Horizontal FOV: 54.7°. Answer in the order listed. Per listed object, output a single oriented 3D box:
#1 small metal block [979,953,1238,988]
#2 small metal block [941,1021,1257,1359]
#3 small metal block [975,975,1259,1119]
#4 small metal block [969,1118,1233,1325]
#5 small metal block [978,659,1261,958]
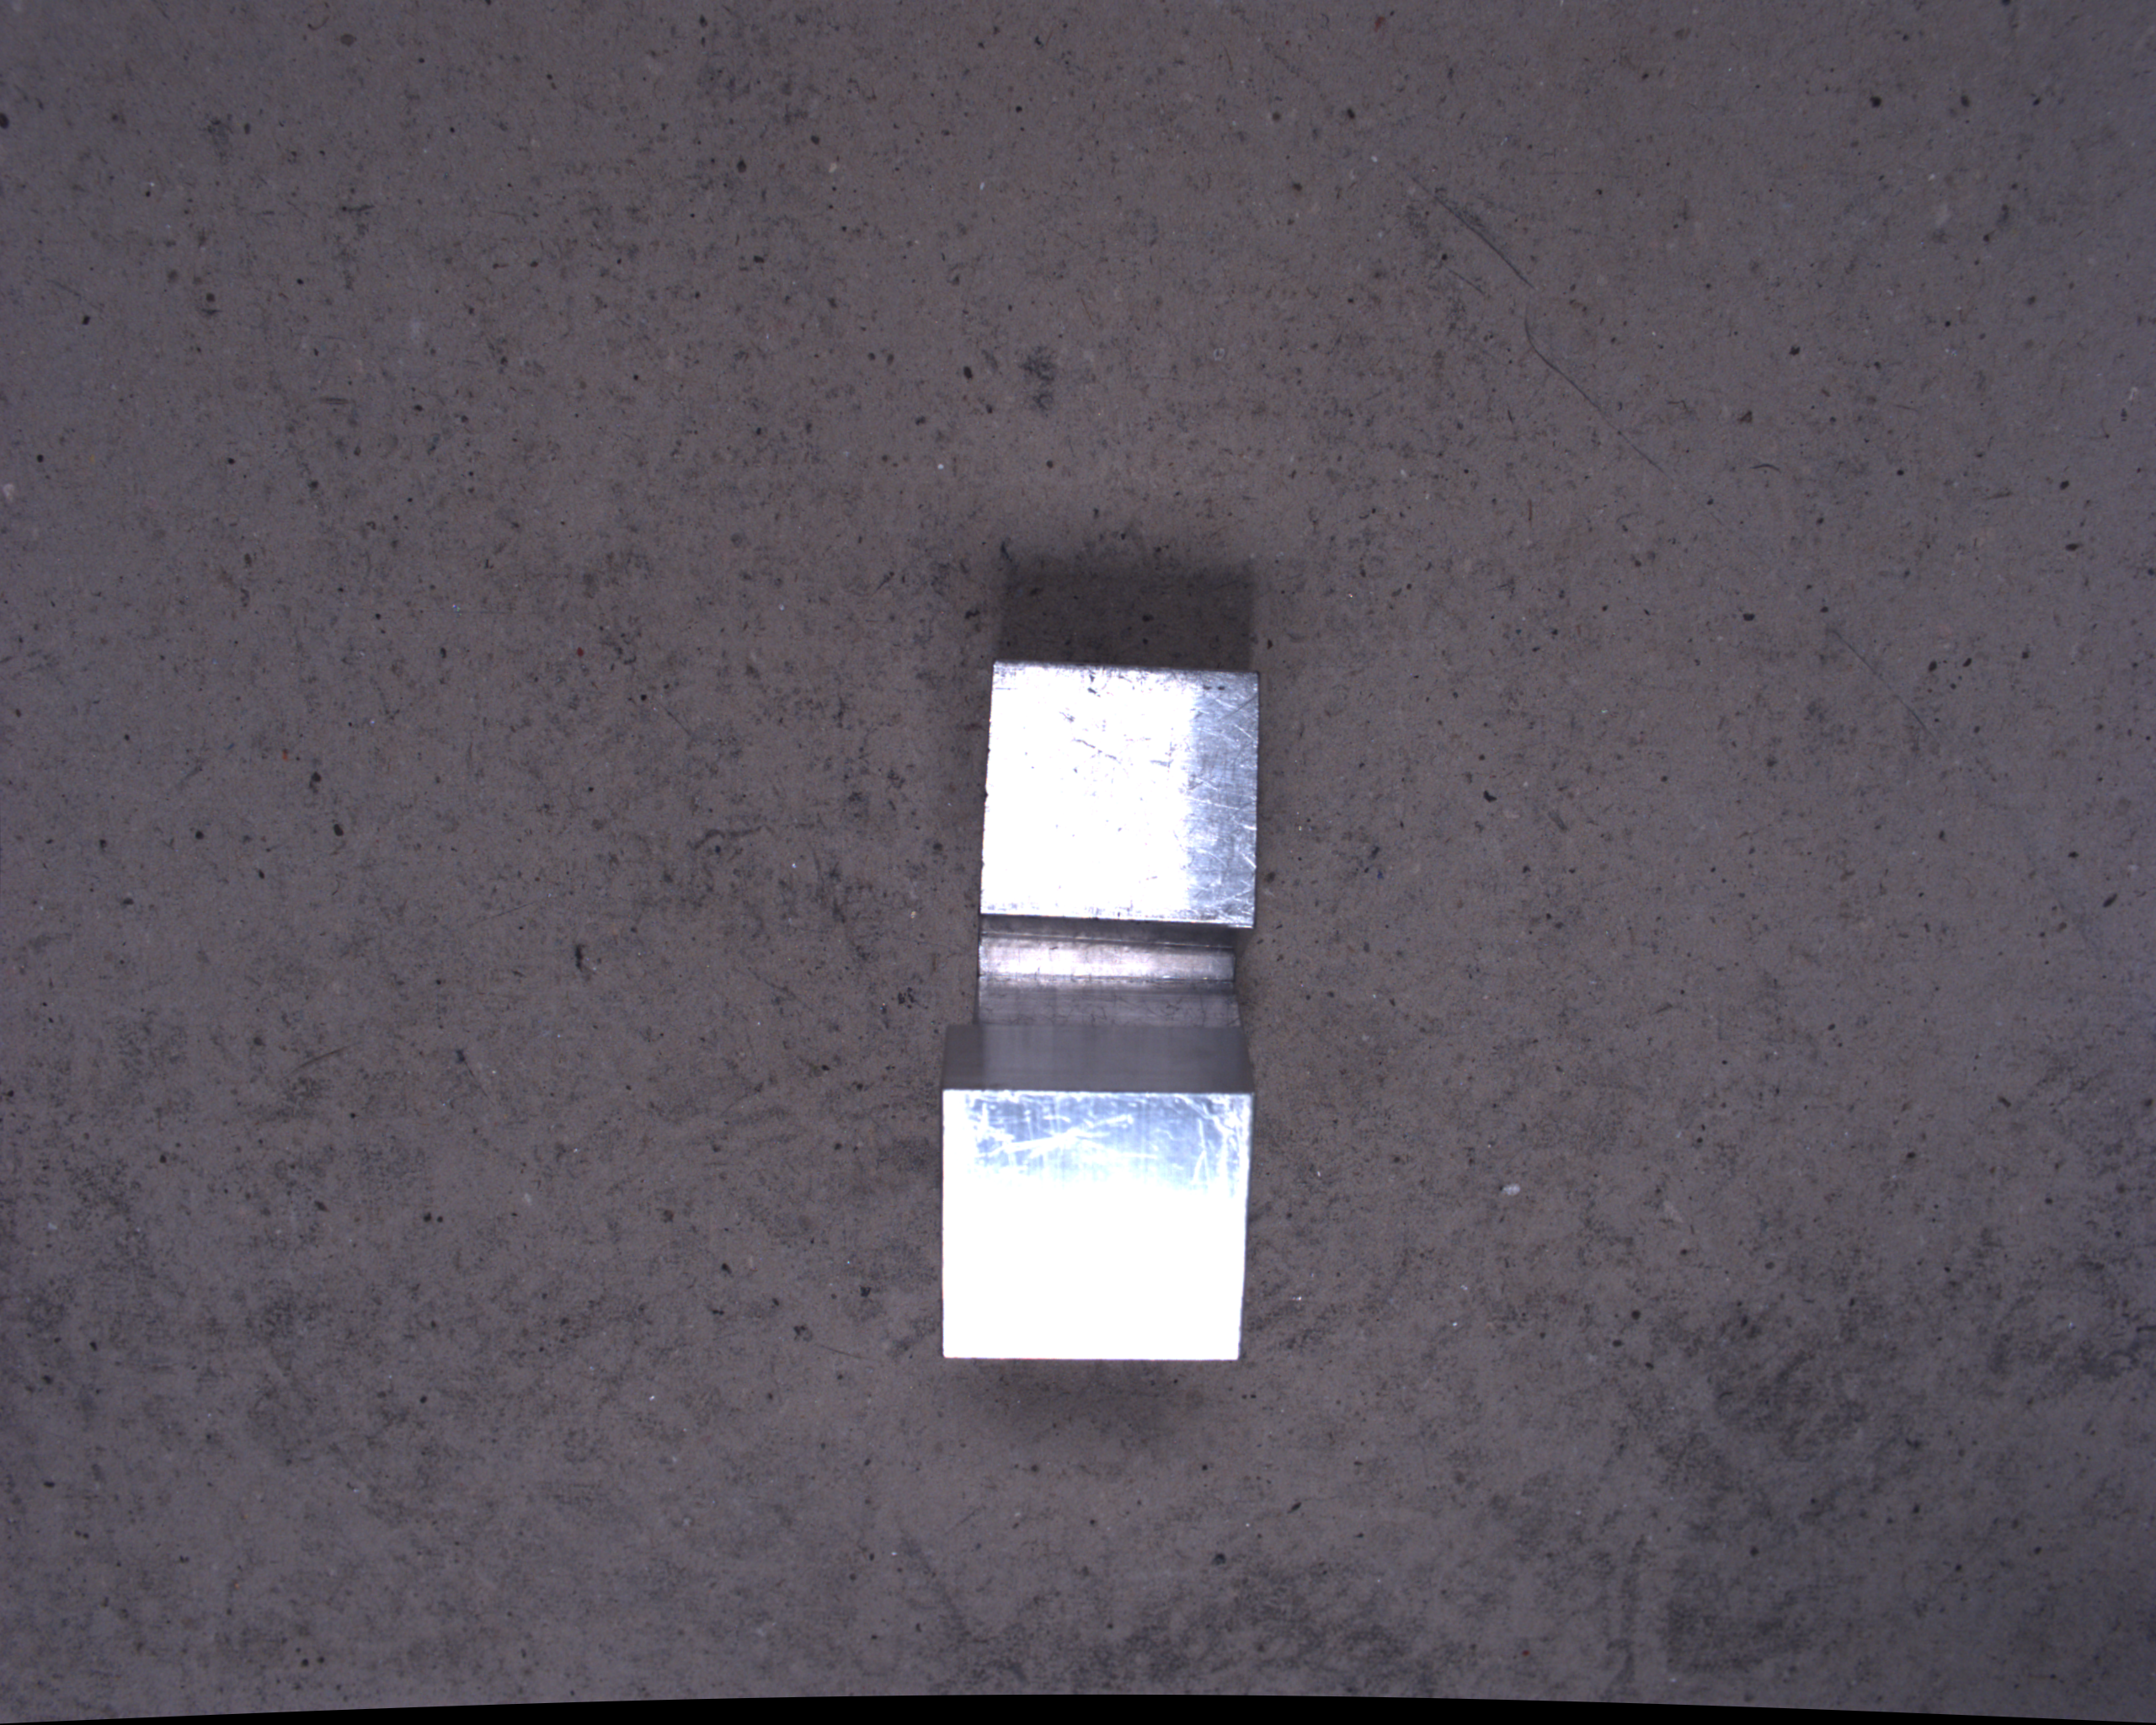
[{"bbox_3d":[0.005,0.029,0.423,0.050,0.025,0.050,2,110,-2],"label":"small metal block"},{"bbox_3d":[0.003,0.055,0.351,0.050,0.025,0.050,1,110,-1],"label":"small metal block"},{"bbox_3d":[0.005,0.043,0.386,0.050,0.050,0.025,2,110,-1],"label":"small metal block"},{"bbox_3d":[0.004,0.074,0.425,0.050,0.025,0.050,2,151,-1],"label":"small metal block"},{"bbox_3d":[0.008,-0.010,0.395,0.050,0.025,0.050,3,74,-1],"label":"small metal block"}]
